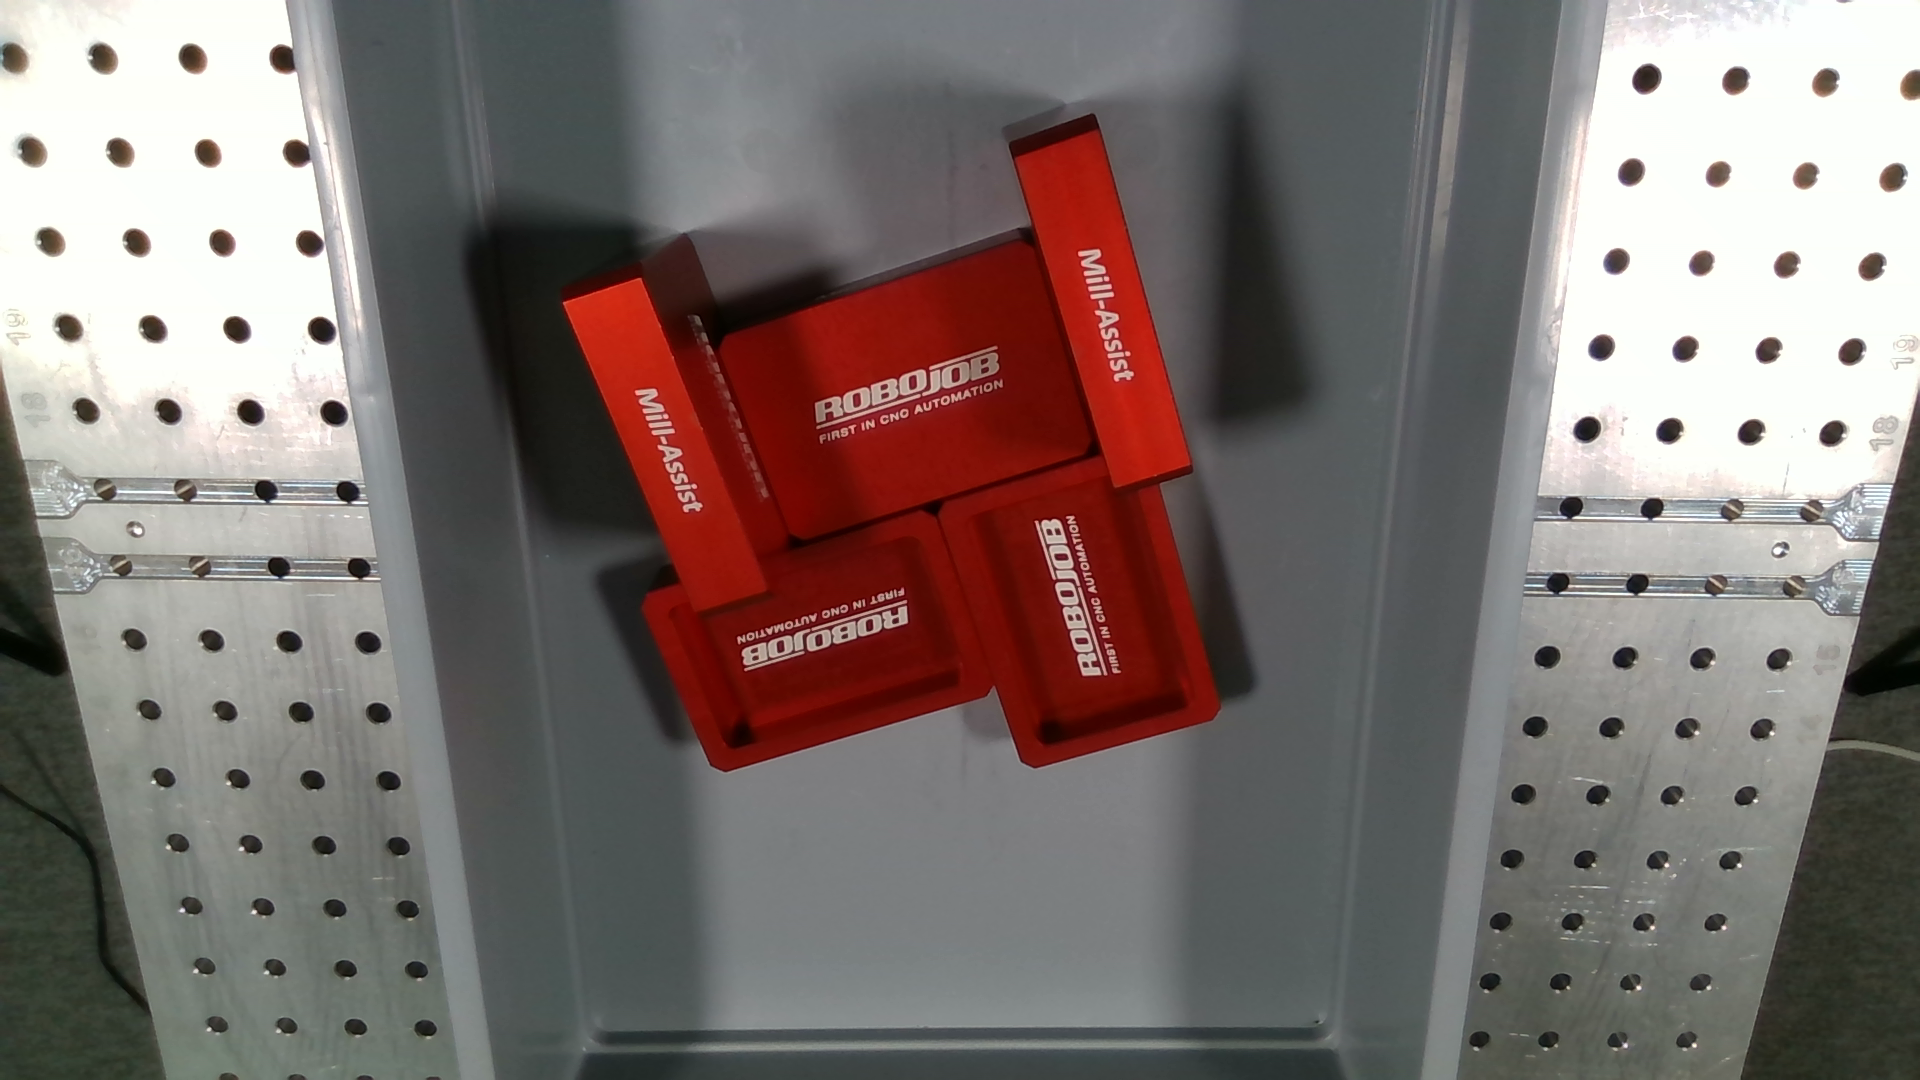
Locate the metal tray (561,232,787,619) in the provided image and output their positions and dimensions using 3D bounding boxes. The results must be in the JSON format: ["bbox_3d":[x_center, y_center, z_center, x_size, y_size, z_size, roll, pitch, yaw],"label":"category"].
[{"bbox_3d":[-0.104,-0.046,0.530,0.030,0.090,0.130,-16,109,6],"label":"metal tray"}]

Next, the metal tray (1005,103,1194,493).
[{"bbox_3d":[0.050,-0.092,0.513,0.030,0.090,0.130,-17,109,6],"label":"metal tray"}]

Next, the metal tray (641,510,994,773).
[{"bbox_3d":[-0.060,0.040,0.595,0.130,0.030,0.090,-16,109,6],"label":"metal tray"}]

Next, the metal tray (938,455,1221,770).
[{"bbox_3d":[0.052,0.027,0.590,0.090,0.030,0.130,-16,109,6],"label":"metal tray"}]

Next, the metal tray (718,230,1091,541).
[{"bbox_3d":[-0.021,-0.062,0.557,0.130,0.030,0.090,-16,109,6],"label":"metal tray"}]
